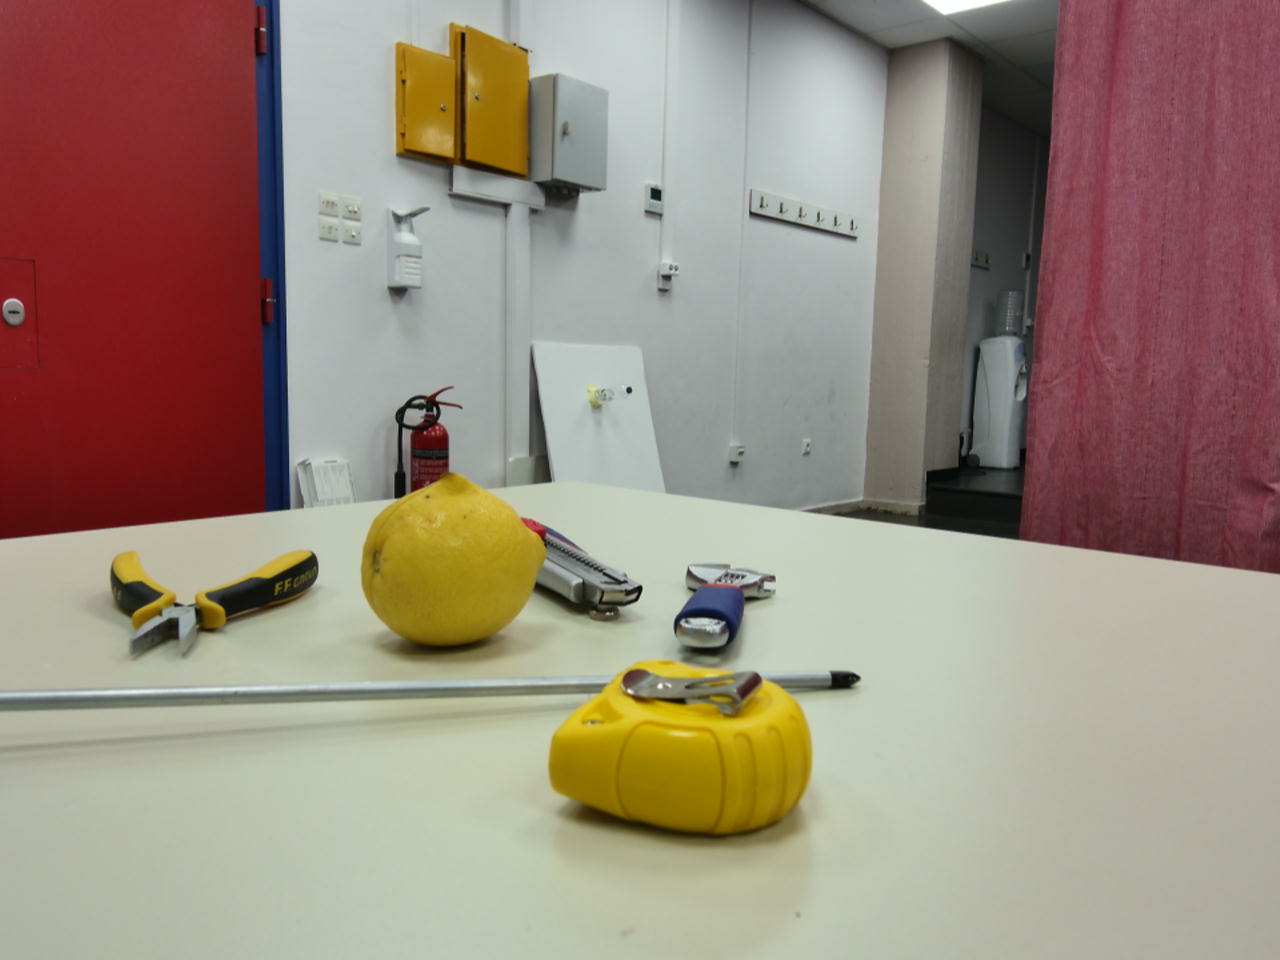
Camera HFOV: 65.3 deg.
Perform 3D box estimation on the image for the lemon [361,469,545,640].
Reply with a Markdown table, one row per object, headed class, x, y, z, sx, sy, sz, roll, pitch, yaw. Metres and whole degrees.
| class | x | y | z | sx | sy | sz | roll | pitch | yaw |
| --- | --- | --- | --- | --- | --- | --- | --- | --- | --- |
| lemon | -0.080 | 0.030 | 0.418 | 0.071 | 0.071 | 0.070 | 1 | 4 | 6 |
